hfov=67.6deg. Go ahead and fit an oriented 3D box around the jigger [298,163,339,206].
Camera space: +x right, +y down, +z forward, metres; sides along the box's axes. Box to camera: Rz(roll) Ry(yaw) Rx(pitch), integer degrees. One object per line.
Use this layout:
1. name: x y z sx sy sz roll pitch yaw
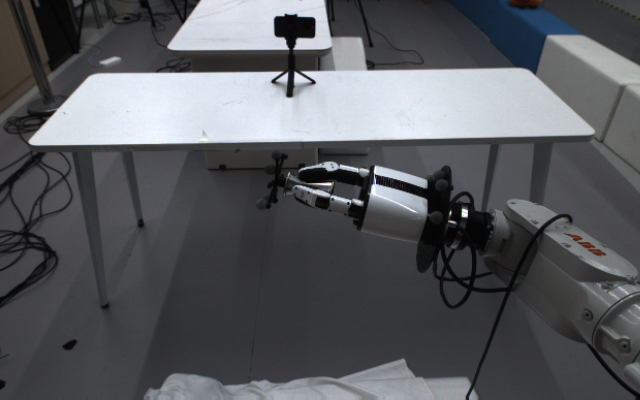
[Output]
1. jigger: -0.010 -0.018 0.711 0.071 0.043 0.043 14 36 4
